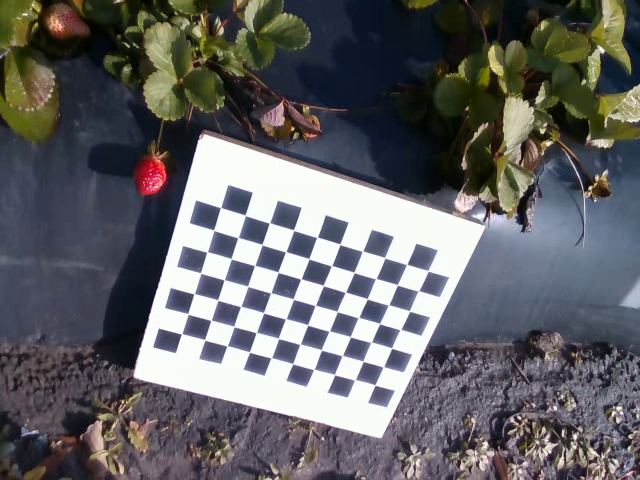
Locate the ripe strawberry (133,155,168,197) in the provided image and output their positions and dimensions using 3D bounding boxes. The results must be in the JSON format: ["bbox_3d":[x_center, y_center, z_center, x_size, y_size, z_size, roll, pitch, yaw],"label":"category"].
[{"bbox_3d":[-0.138,-0.049,0.449,0.034,0.038,0.033,16,-32,-10],"label":"ripe strawberry"}]
